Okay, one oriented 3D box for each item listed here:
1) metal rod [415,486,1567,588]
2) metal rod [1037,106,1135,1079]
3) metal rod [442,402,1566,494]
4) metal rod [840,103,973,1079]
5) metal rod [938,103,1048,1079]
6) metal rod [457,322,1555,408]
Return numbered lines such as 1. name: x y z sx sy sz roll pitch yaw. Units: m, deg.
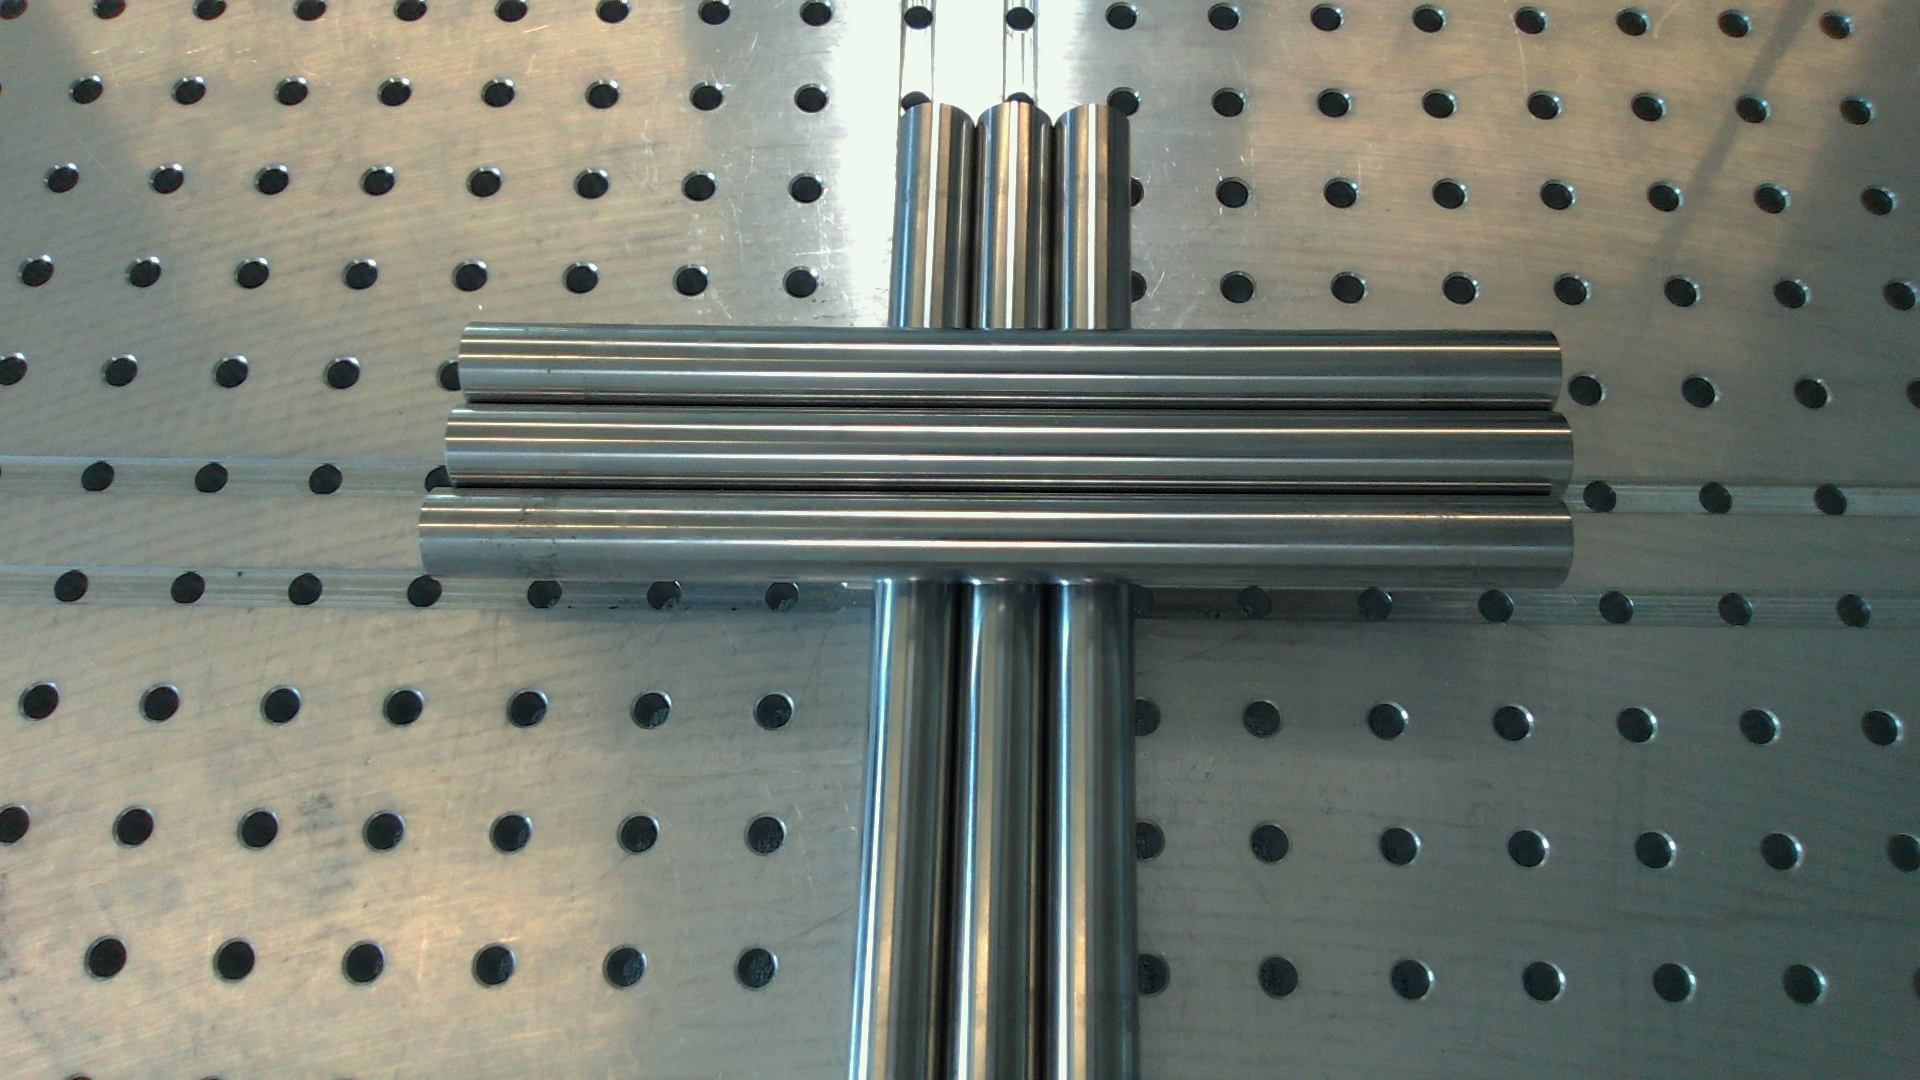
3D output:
1. metal rod: 0.008 -0.001 0.371 0.300 0.025 0.025 0 70 0
2. metal rod: 0.036 0.008 0.394 0.025 0.025 0.300 2 70 1
3. metal rod: 0.012 -0.024 0.379 0.300 0.025 0.025 0 70 0
4. metal rod: -0.013 0.007 0.394 0.025 0.025 0.300 2 70 1
5. metal rod: 0.011 0.007 0.395 0.025 0.025 0.300 2 70 1
6. metal rod: 0.013 -0.048 0.388 0.300 0.025 0.025 0 70 0
